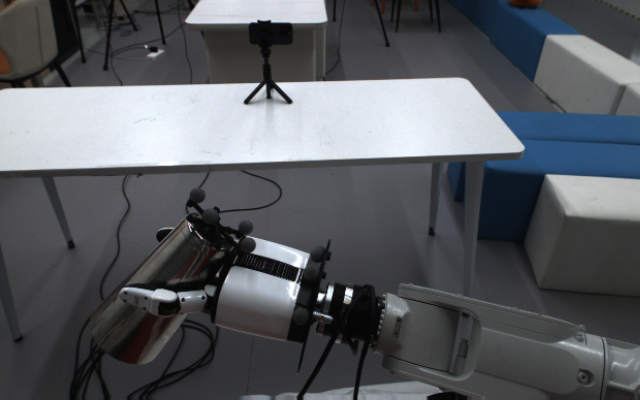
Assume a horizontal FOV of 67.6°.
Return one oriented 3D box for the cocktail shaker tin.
[{"bbox_3d":[-0.177,0.095,0.566,0.093,0.170,0.093,41,13,-12],"label":"cocktail shaker tin"}]
